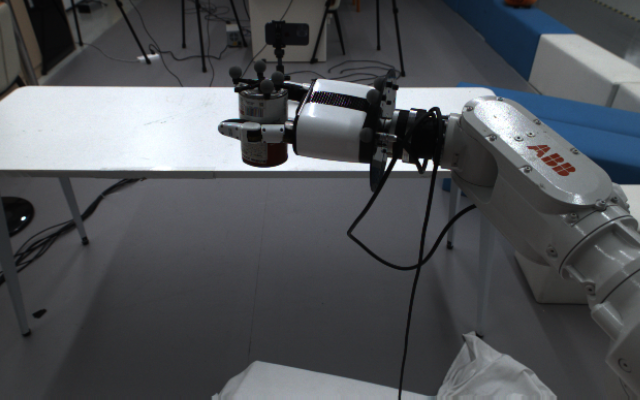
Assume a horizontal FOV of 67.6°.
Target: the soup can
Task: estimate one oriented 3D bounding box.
[{"bbox_3d":[-0.076,-0.104,0.663,0.067,0.101,0.067,2,32,-1],"label":"soup can"}]
